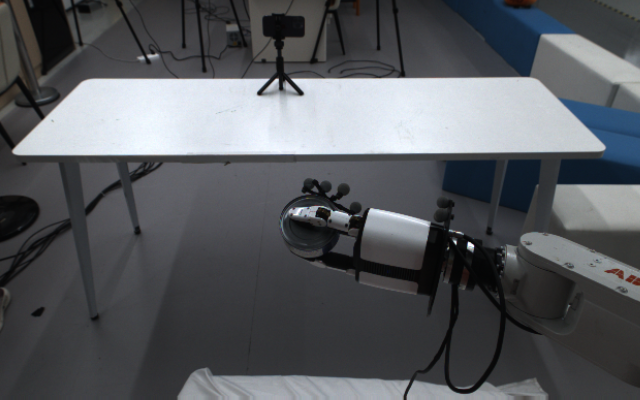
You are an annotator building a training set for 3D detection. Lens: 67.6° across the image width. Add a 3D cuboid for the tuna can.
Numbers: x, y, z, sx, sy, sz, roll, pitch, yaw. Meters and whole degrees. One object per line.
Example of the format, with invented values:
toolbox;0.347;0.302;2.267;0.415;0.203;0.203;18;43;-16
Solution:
tuna can;-0.013;0.037;0.684;0.085;0.034;0.085;-2;60;3
